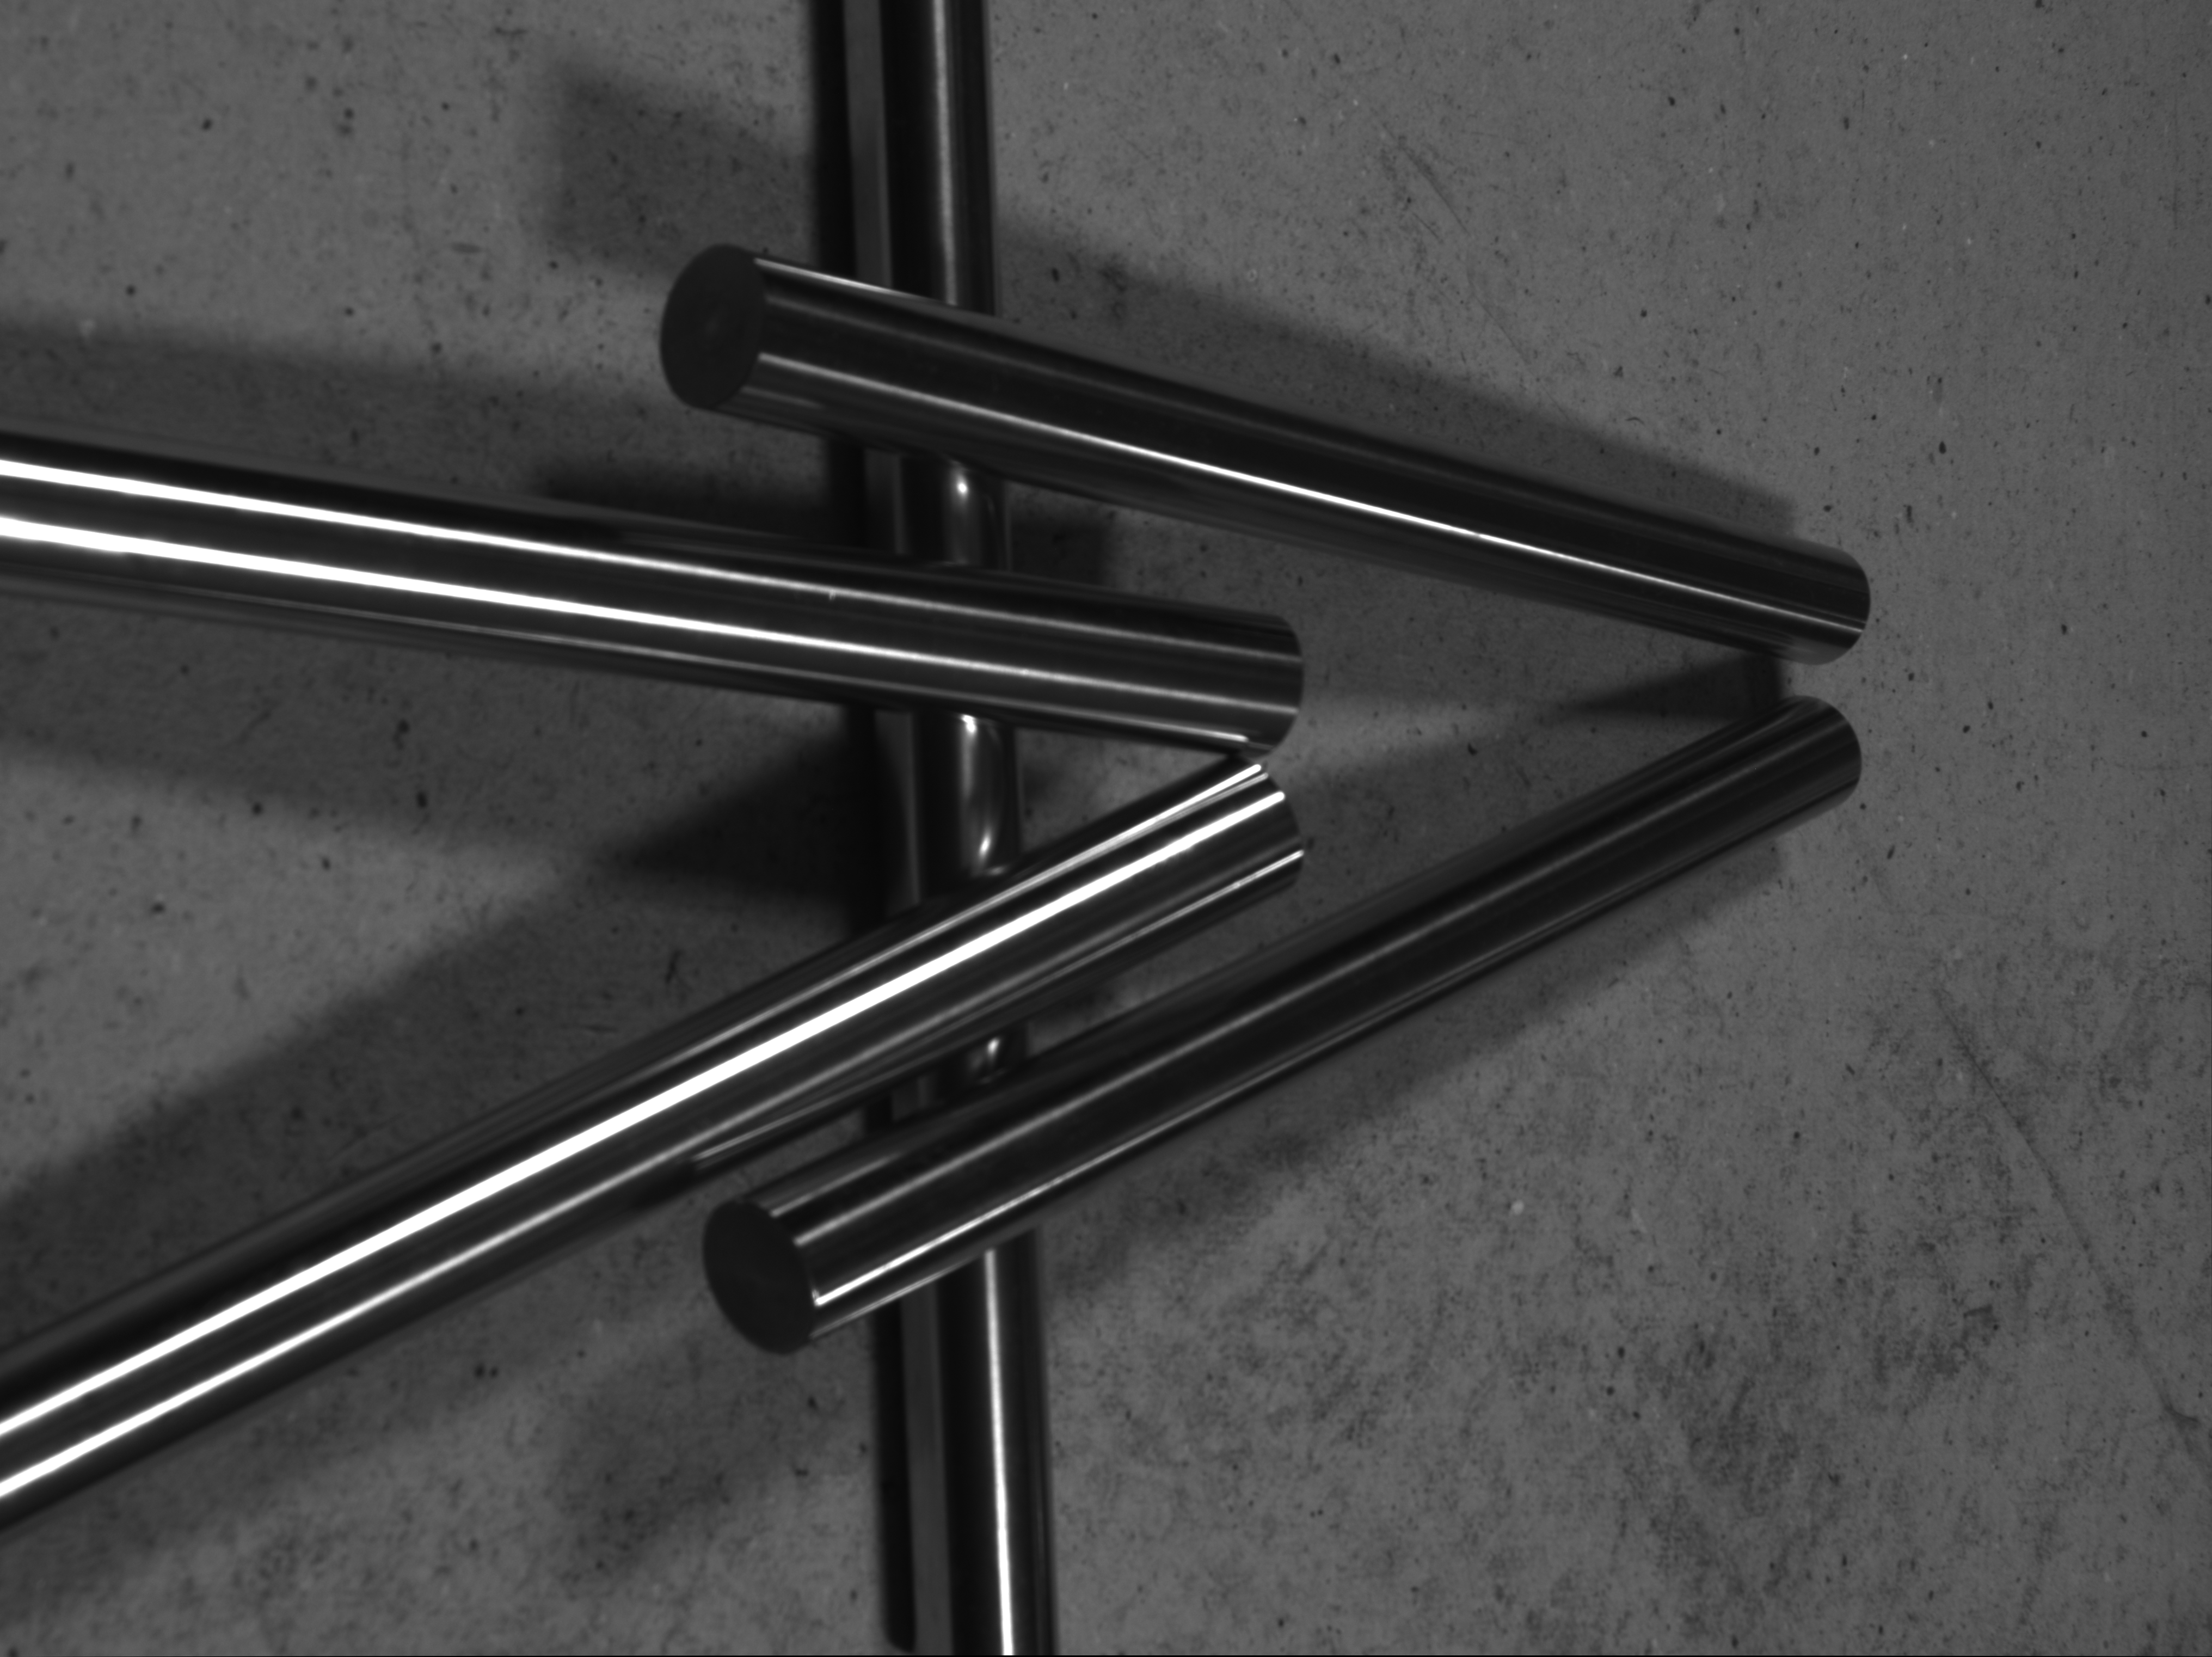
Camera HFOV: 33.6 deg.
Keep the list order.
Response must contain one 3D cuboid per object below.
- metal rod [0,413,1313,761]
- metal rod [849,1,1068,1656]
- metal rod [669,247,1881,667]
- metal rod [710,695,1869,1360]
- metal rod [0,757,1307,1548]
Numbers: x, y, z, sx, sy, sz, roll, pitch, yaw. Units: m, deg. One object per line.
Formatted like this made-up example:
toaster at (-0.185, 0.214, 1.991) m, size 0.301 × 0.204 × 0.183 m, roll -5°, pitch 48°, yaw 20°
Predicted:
metal rod at (-0.096, -0.038, 0.539) m, size 0.301 × 0.025 × 0.025 m, roll 7°, pitch 86°, yaw -34°
metal rod at (-0.025, -0.007, 0.617) m, size 0.025 × 0.025 × 0.300 m, roll -4°, pitch 93°, yaw -40°
metal rod at (0.047, -0.060, 0.655) m, size 0.301 × 0.025 × 0.025 m, roll 8°, pitch 85°, yaw -46°
metal rod at (0.048, 0.026, 0.657) m, size 0.301 × 0.025 × 0.025 m, roll -23°, pitch 104°, yaw -44°
metal rod at (-0.090, 0.055, 0.544) m, size 0.301 × 0.025 × 0.025 m, roll -26°, pitch 106°, yaw -31°
